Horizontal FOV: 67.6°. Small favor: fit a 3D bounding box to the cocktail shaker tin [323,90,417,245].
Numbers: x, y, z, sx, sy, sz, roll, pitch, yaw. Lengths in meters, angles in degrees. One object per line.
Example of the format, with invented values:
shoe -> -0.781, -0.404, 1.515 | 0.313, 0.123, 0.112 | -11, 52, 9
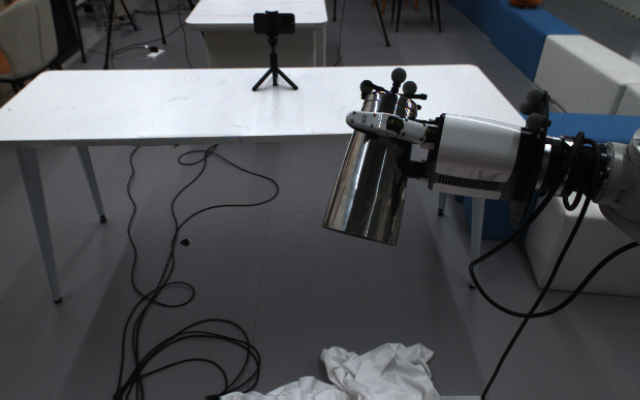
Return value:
cocktail shaker tin -> 0.069, -0.041, 0.587 | 0.093, 0.170, 0.093 | 14, -5, 1
